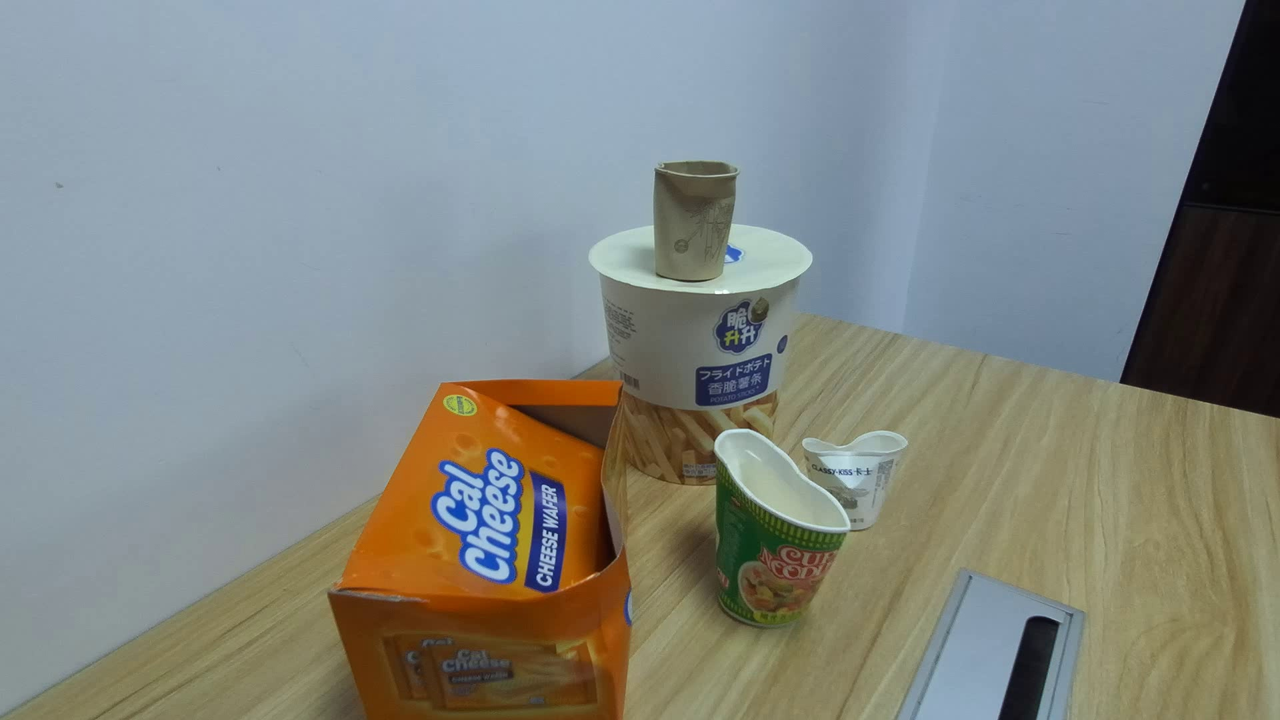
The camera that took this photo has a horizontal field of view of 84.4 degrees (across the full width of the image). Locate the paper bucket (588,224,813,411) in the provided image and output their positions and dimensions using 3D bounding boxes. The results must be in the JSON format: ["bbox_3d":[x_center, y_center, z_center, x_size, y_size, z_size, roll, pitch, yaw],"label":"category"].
[{"bbox_3d":[0.053,-0.006,0.646,0.198,0.195,0.198,-1,26,1],"label":"paper bucket"}]

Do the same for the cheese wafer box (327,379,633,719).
[{"bbox_3d":[-0.081,0.123,0.471,0.152,0.132,0.230,1,25,-1],"label":"cheese wafer box"}]

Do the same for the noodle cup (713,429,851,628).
[{"bbox_3d":[0.089,0.118,0.483,0.070,0.111,0.115,-3,27,-1],"label":"noodle cup"}]

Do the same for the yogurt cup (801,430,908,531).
[{"bbox_3d":[0.171,0.094,0.575,0.076,0.071,0.053,-16,31,-28],"label":"yogurt cup"}]

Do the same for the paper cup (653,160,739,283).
[{"bbox_3d":[0.042,-0.108,0.546,0.066,0.084,0.071,2,22,5],"label":"paper cup"}]
